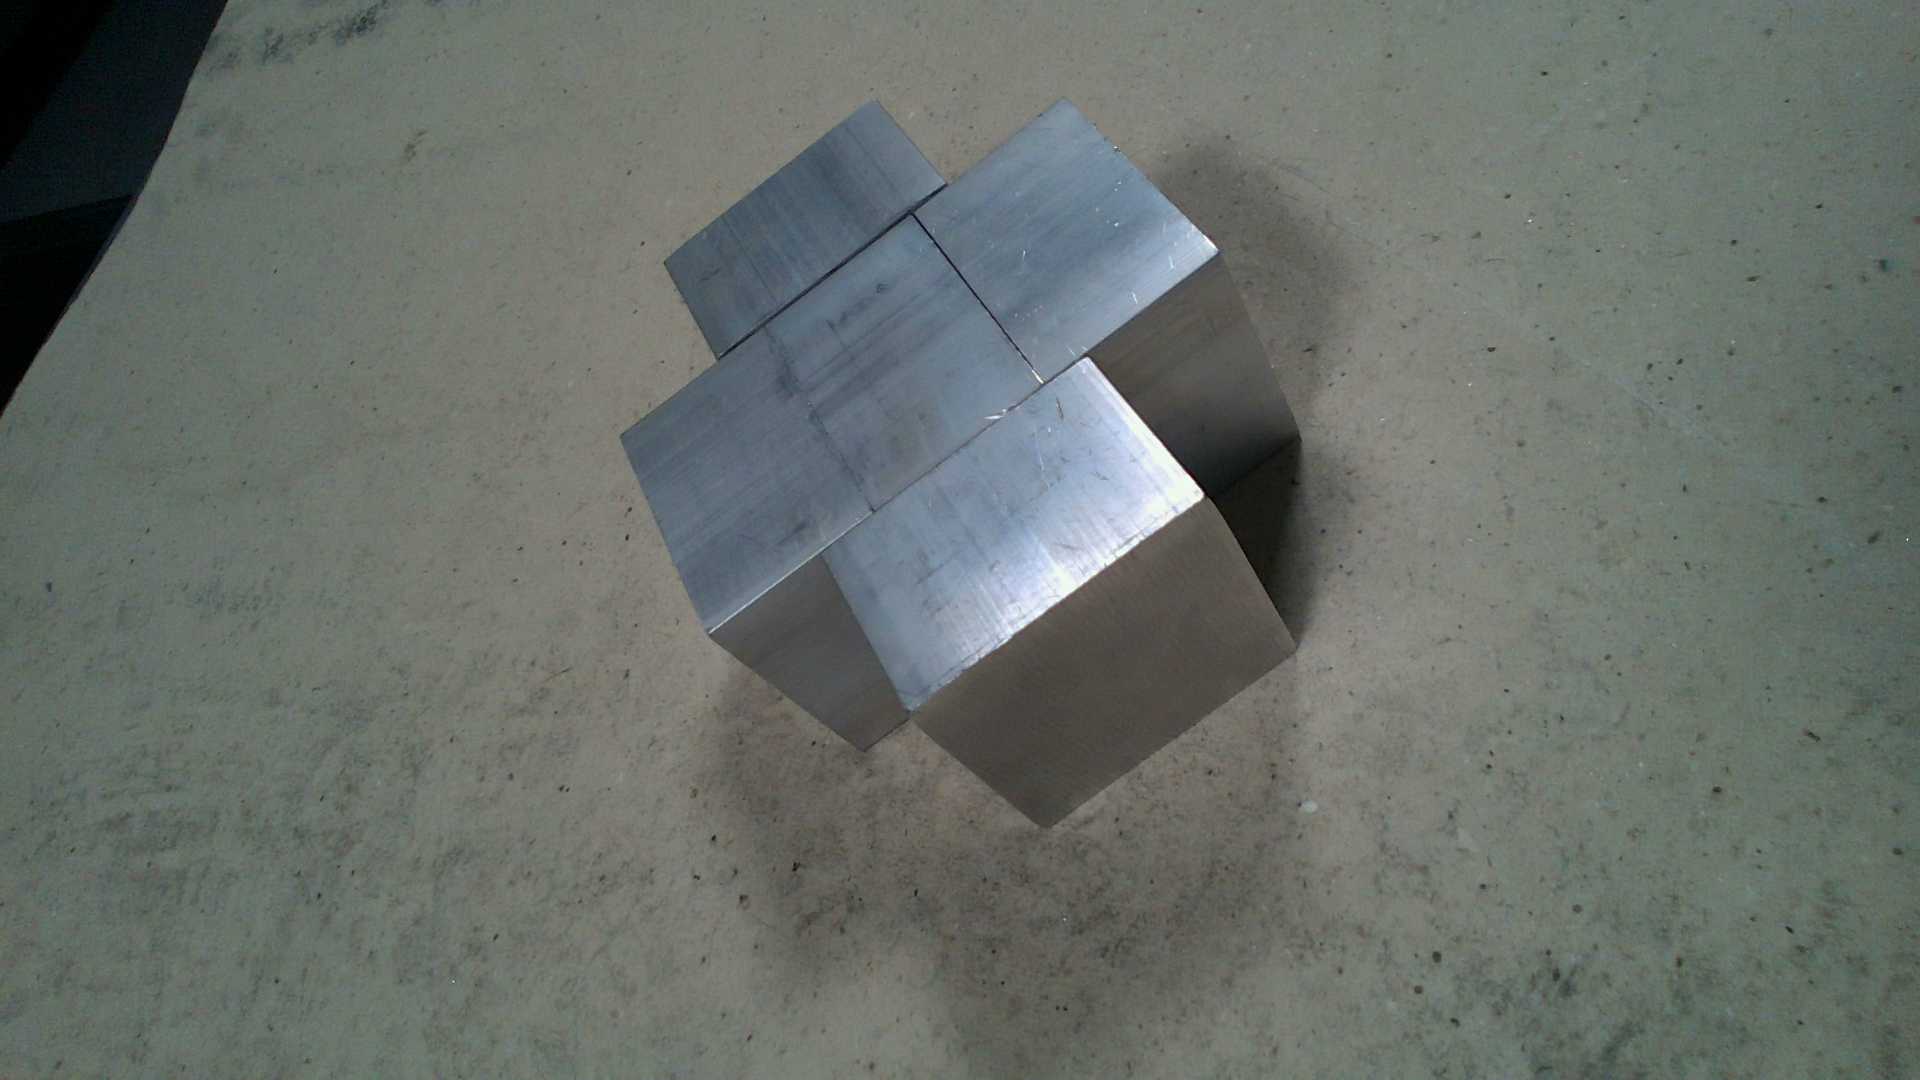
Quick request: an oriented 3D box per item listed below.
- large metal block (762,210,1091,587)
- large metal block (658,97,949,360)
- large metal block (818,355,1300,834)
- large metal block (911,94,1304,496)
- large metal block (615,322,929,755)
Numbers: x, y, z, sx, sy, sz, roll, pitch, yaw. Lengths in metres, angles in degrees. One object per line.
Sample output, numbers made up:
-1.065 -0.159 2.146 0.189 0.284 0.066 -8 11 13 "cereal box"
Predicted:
0.000 -0.029 0.377 0.050 0.080 0.080 -36 51 4 "large metal block"
-0.029 -0.070 0.418 0.080 0.080 0.050 -37 51 4 "large metal block"
0.026 0.016 0.335 0.080 0.080 0.050 -37 51 4 "large metal block"
0.041 -0.059 0.373 0.050 0.080 0.080 -36 51 4 "large metal block"
-0.041 0.001 0.380 0.050 0.080 0.080 -36 51 4 "large metal block"
